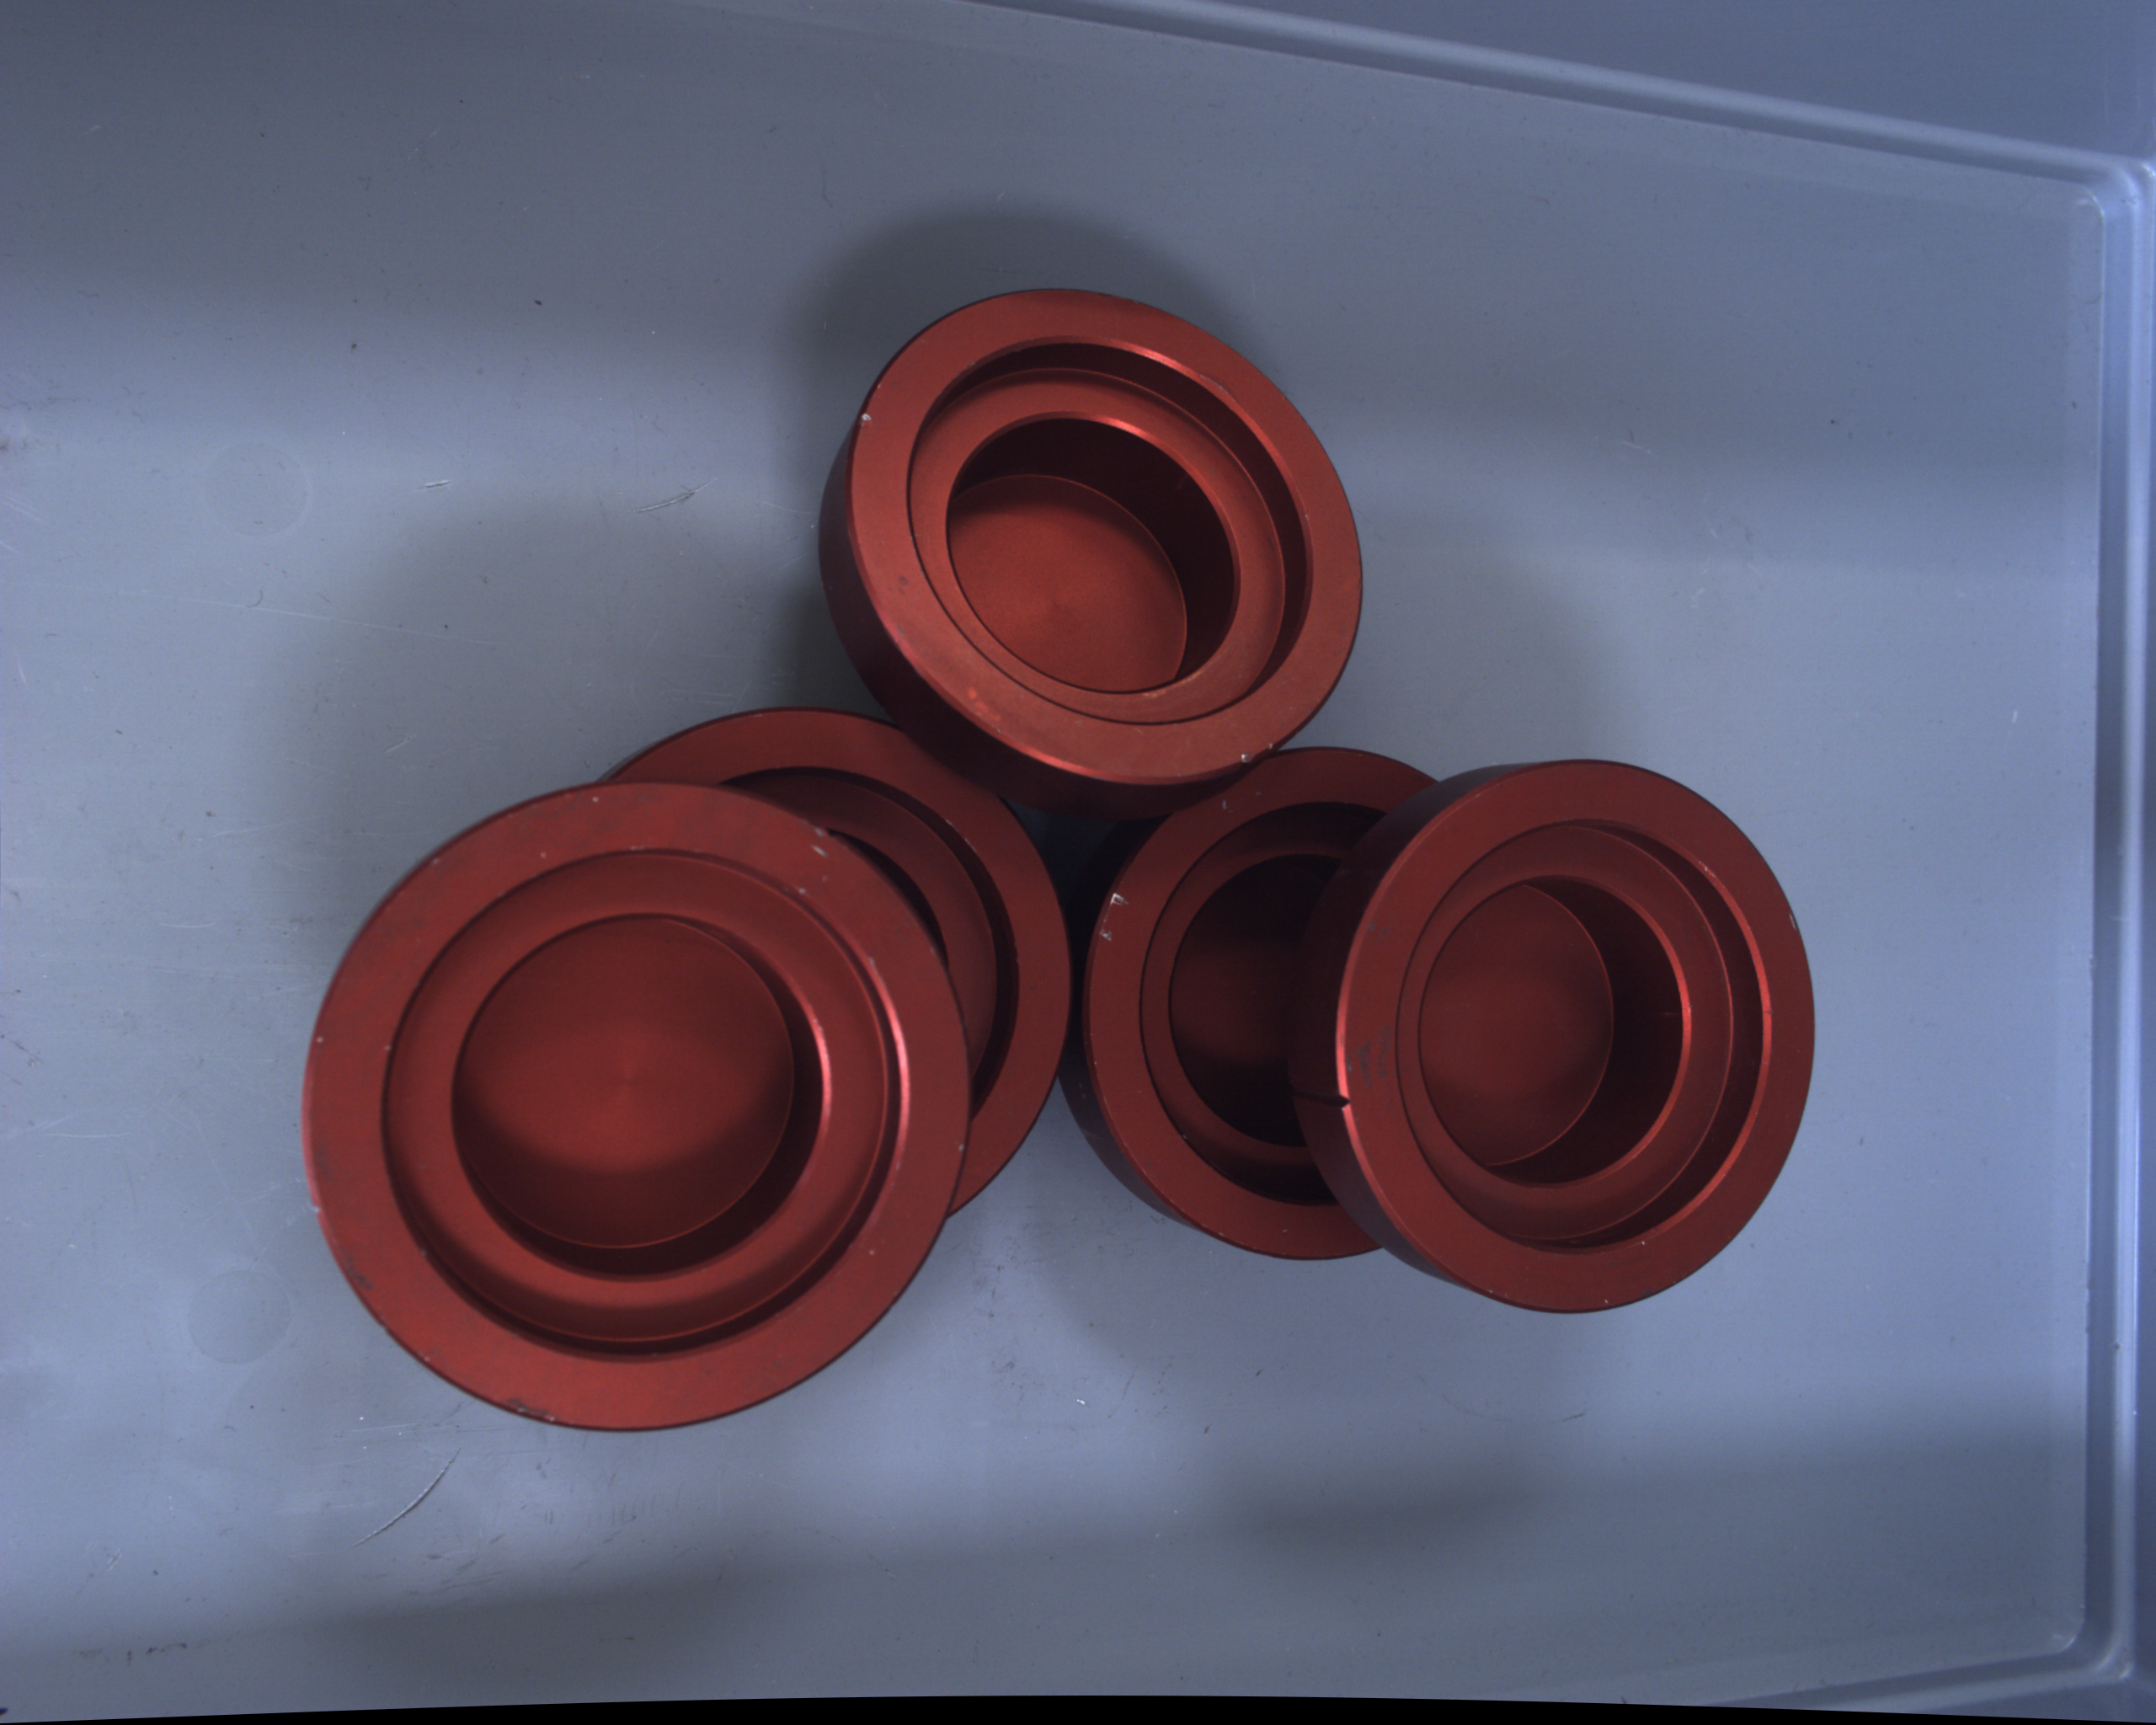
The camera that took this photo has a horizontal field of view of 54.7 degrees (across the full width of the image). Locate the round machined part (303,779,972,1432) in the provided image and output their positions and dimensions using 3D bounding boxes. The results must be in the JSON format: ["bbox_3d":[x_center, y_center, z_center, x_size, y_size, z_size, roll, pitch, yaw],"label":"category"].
[{"bbox_3d":[-0.070,0.036,0.330,0.099,0.042,0.097,0,90,-20],"label":"round machined part"}]

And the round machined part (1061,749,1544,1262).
[{"bbox_3d":[0.040,0.027,0.415,0.099,0.042,0.097,0,90,-20],"label":"round machined part"}]

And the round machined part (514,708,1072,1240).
[{"bbox_3d":[-0.054,0.022,0.380,0.099,0.042,0.097,0,90,-20],"label":"round machined part"}]

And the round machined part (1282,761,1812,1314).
[{"bbox_3d":[0.082,0.031,0.386,0.099,0.042,0.097,0,90,-20],"label":"round machined part"}]

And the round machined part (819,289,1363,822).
[{"bbox_3d":[0.000,-0.053,0.389,0.099,0.042,0.098,7,70,-19],"label":"round machined part"}]
